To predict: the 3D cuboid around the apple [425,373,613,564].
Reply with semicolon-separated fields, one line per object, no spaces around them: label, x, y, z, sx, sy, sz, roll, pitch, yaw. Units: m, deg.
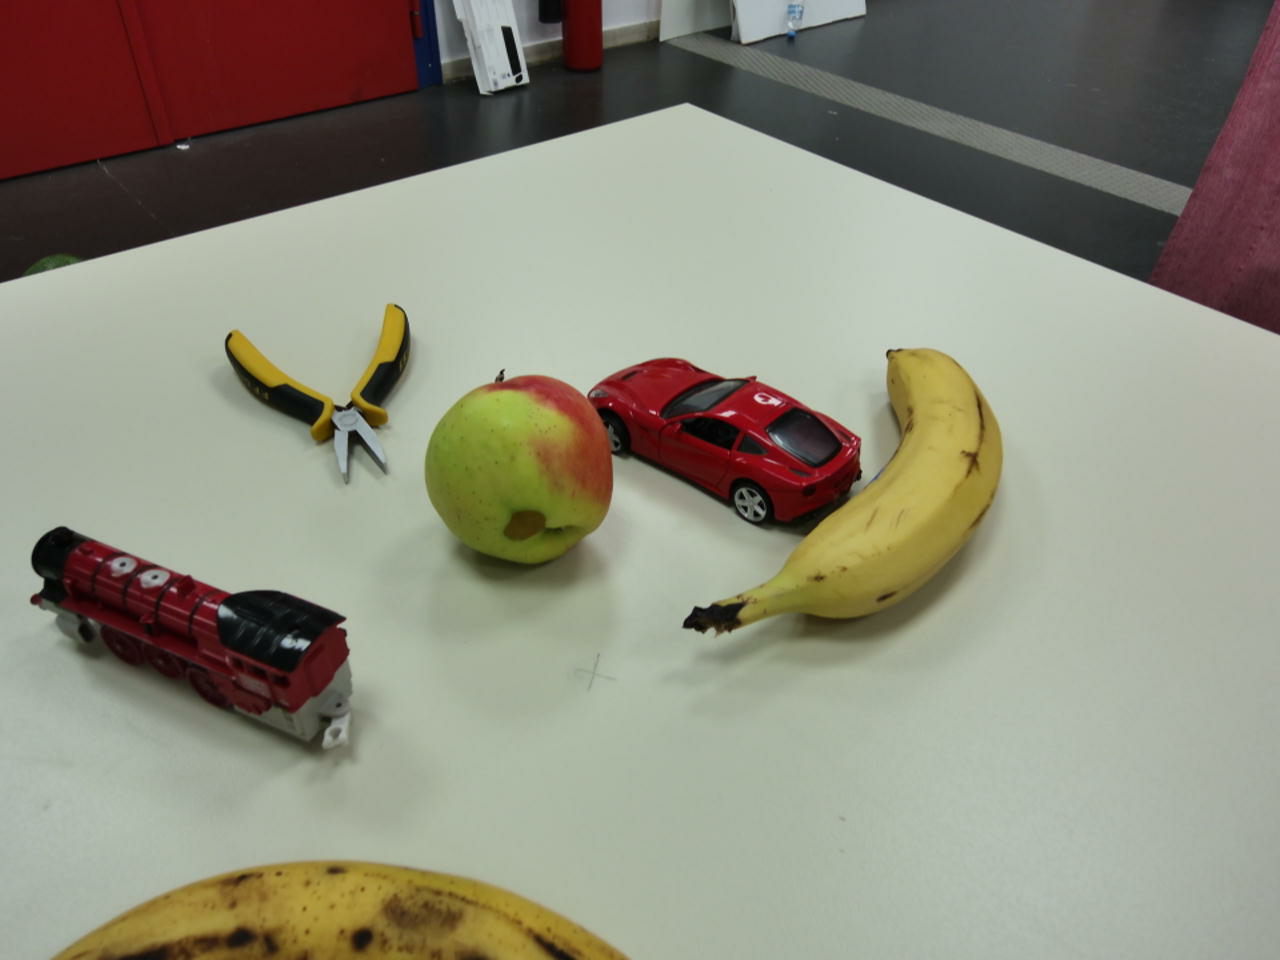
apple;-0.046;-0.005;0.401;0.075;0.074;0.075;21;41;24
